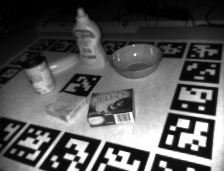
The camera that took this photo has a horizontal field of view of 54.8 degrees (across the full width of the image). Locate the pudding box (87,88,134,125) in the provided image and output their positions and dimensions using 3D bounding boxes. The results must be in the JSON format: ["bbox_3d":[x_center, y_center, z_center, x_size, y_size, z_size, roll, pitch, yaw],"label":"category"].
[{"bbox_3d":[-0.003,0.049,0.547,0.113,0.039,0.089,-9,44,6],"label":"pudding box"}]

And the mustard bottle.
[{"bbox_3d":[-0.082,-0.166,0.698,0.095,0.193,0.058,7,40,25],"label":"mustard bottle"}]

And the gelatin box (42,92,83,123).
[{"bbox_3d":[-0.135,0.054,0.586,0.088,0.030,0.073,13,48,30],"label":"gelatin box"}]

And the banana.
[{"bbox_3d":[-0.212,-0.090,0.785,0.198,0.039,0.073,-23,29,-12],"label":"banana"}]

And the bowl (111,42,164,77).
[{"bbox_3d":[0.079,-0.073,0.667,0.161,0.055,0.161,-9,37,8],"label":"bowl"}]

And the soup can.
[{"bbox_3d":[-0.229,-0.046,0.667,0.068,0.103,0.067,-7,38,6],"label":"soup can"}]
